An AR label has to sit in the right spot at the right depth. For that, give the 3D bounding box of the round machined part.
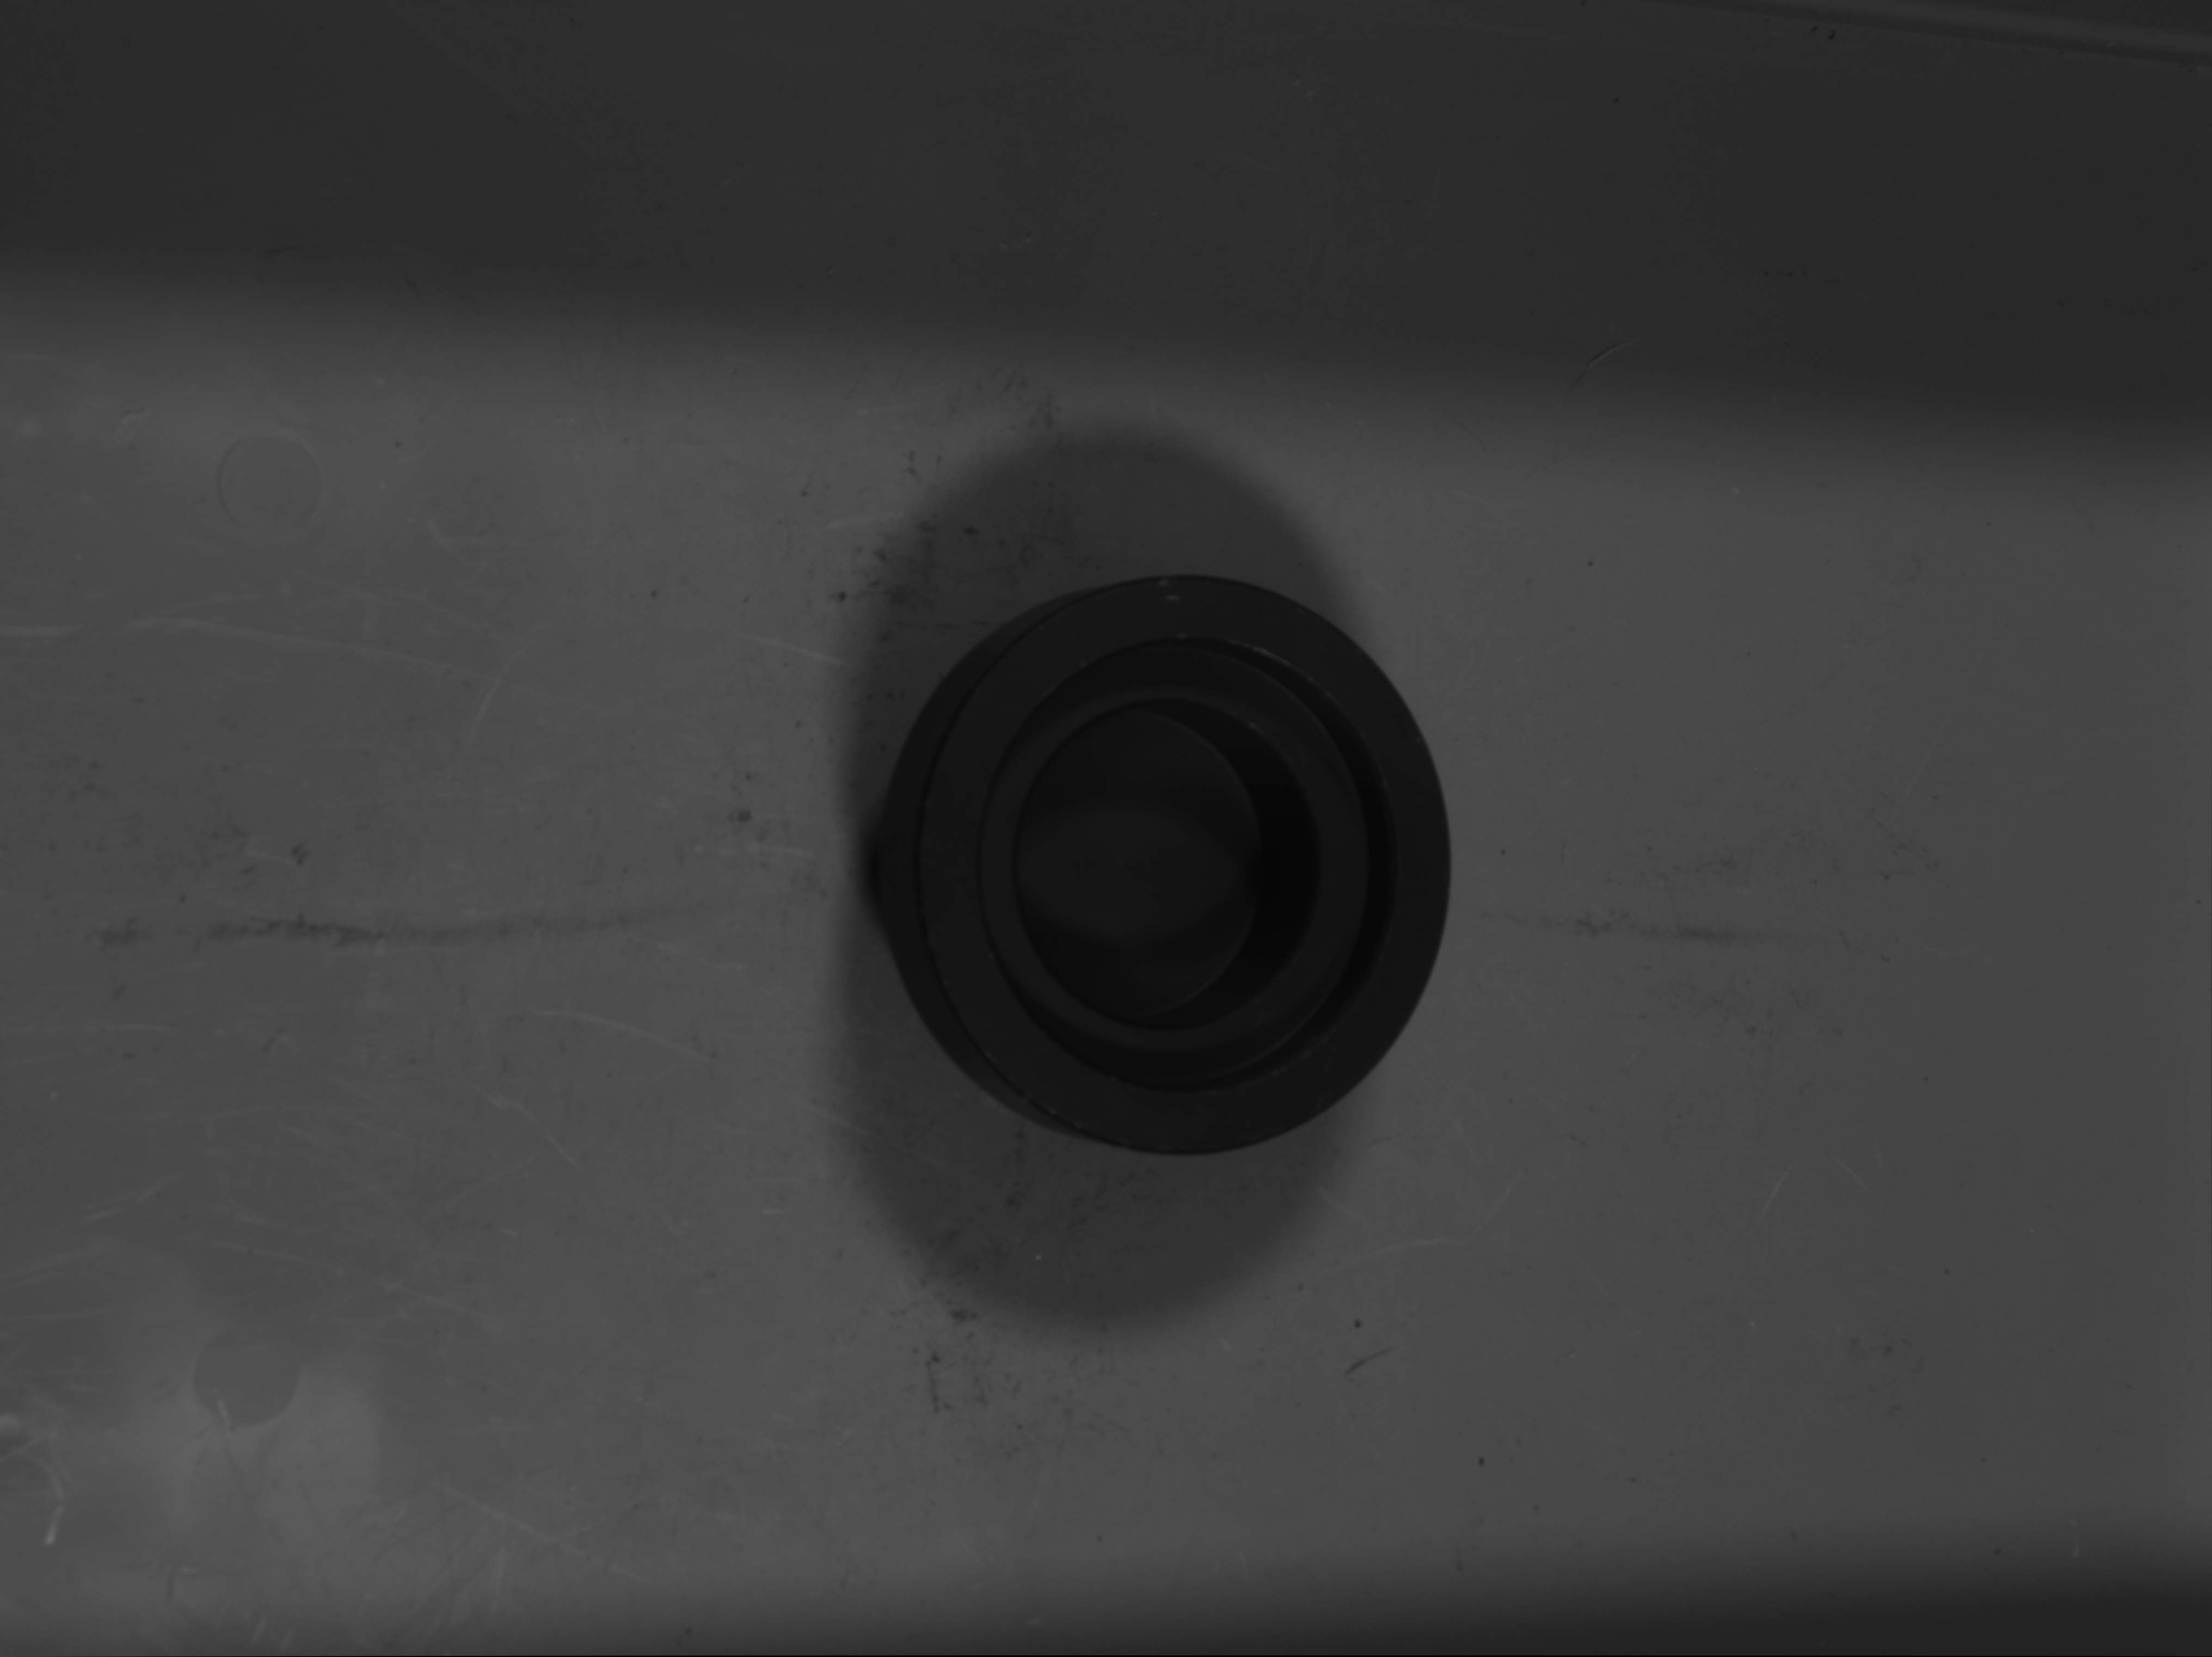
[{"bbox_3d":[0.015,0.006,0.636,0.098,0.042,0.098,0,90,-20],"label":"round machined part"}]
